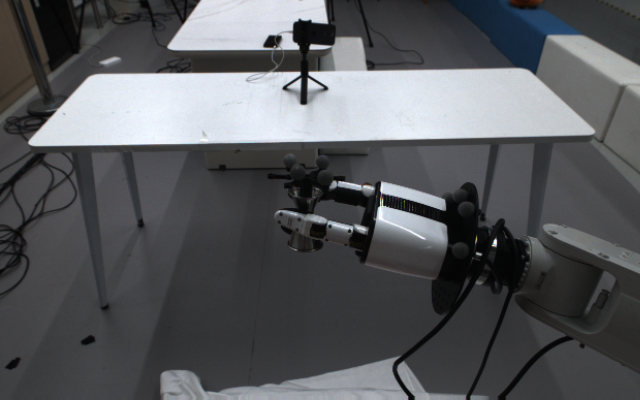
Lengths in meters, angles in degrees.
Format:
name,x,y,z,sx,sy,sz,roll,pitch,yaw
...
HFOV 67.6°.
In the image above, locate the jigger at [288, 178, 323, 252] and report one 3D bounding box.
name,x,y,z,sx,sy,sz,roll,pitch,yaw
jigger,-0.017,0.021,0.579,0.043,0.071,0.043,1,20,0
